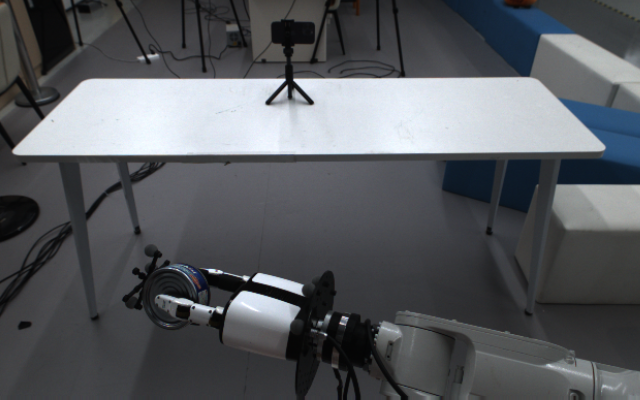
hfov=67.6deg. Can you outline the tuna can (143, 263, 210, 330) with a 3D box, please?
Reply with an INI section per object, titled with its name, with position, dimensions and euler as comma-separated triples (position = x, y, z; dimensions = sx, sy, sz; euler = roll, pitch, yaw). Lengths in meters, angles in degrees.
[tuna can]
position = -0.191, 0.128, 0.647
dimensions = 0.085, 0.085, 0.034
euler = 12, 5, 14
